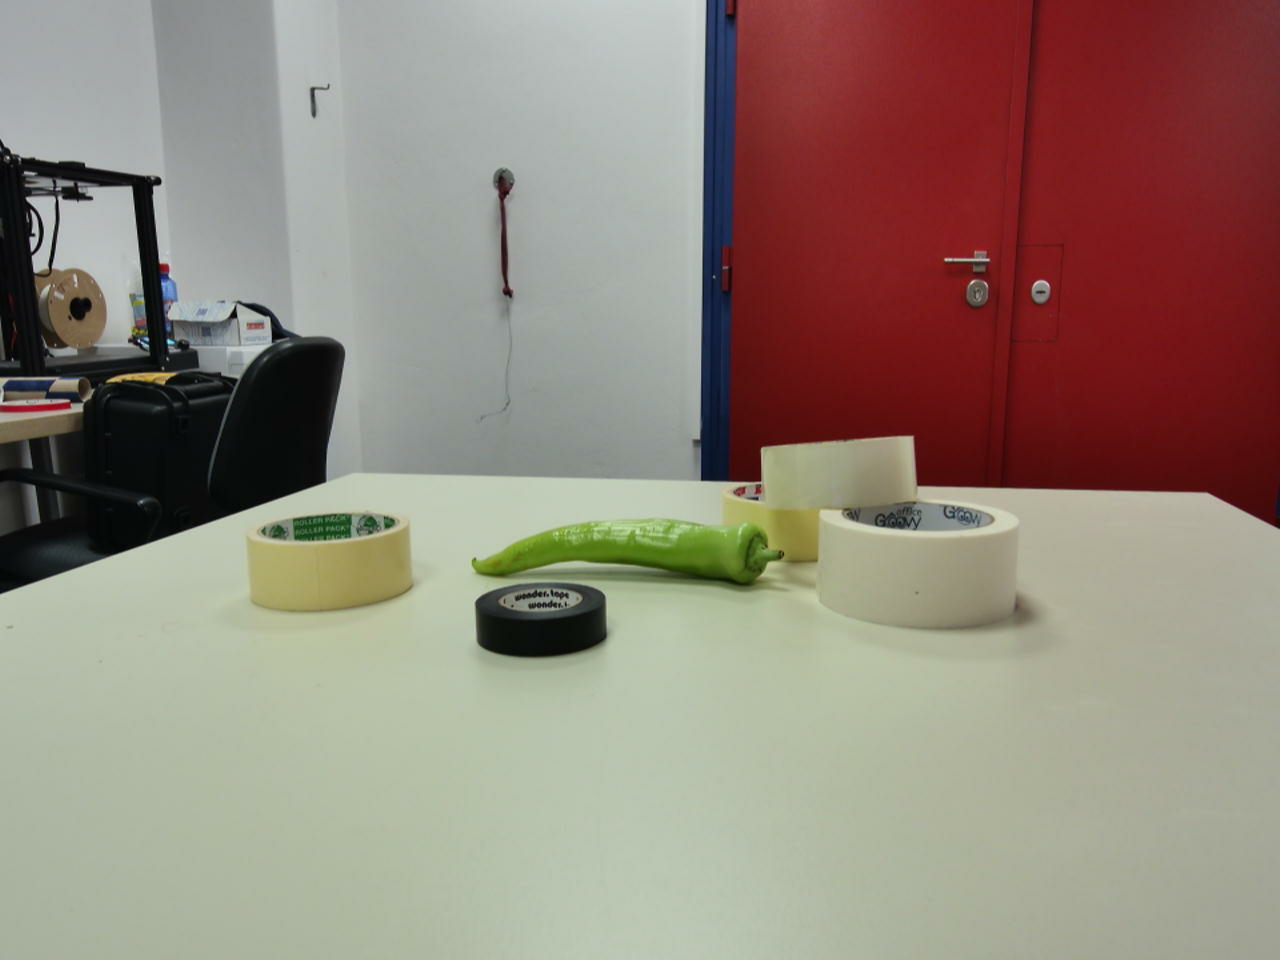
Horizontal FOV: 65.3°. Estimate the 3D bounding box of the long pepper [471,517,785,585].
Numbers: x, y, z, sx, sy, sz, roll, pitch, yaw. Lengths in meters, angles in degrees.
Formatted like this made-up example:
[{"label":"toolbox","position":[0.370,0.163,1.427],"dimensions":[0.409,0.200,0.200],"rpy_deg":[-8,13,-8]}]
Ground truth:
[{"label":"long pepper","position":[-0.008,0.041,0.615],"dimensions":[0.197,0.038,0.046],"rpy_deg":[2,8,13]}]
